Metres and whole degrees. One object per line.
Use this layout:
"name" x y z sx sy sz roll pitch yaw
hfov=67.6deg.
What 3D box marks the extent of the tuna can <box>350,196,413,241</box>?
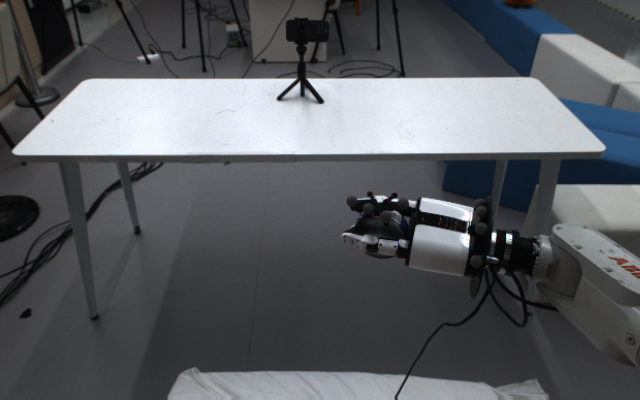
"tuna can" 0.098 0.050 0.771 0.085 0.085 0.034 12 39 13
